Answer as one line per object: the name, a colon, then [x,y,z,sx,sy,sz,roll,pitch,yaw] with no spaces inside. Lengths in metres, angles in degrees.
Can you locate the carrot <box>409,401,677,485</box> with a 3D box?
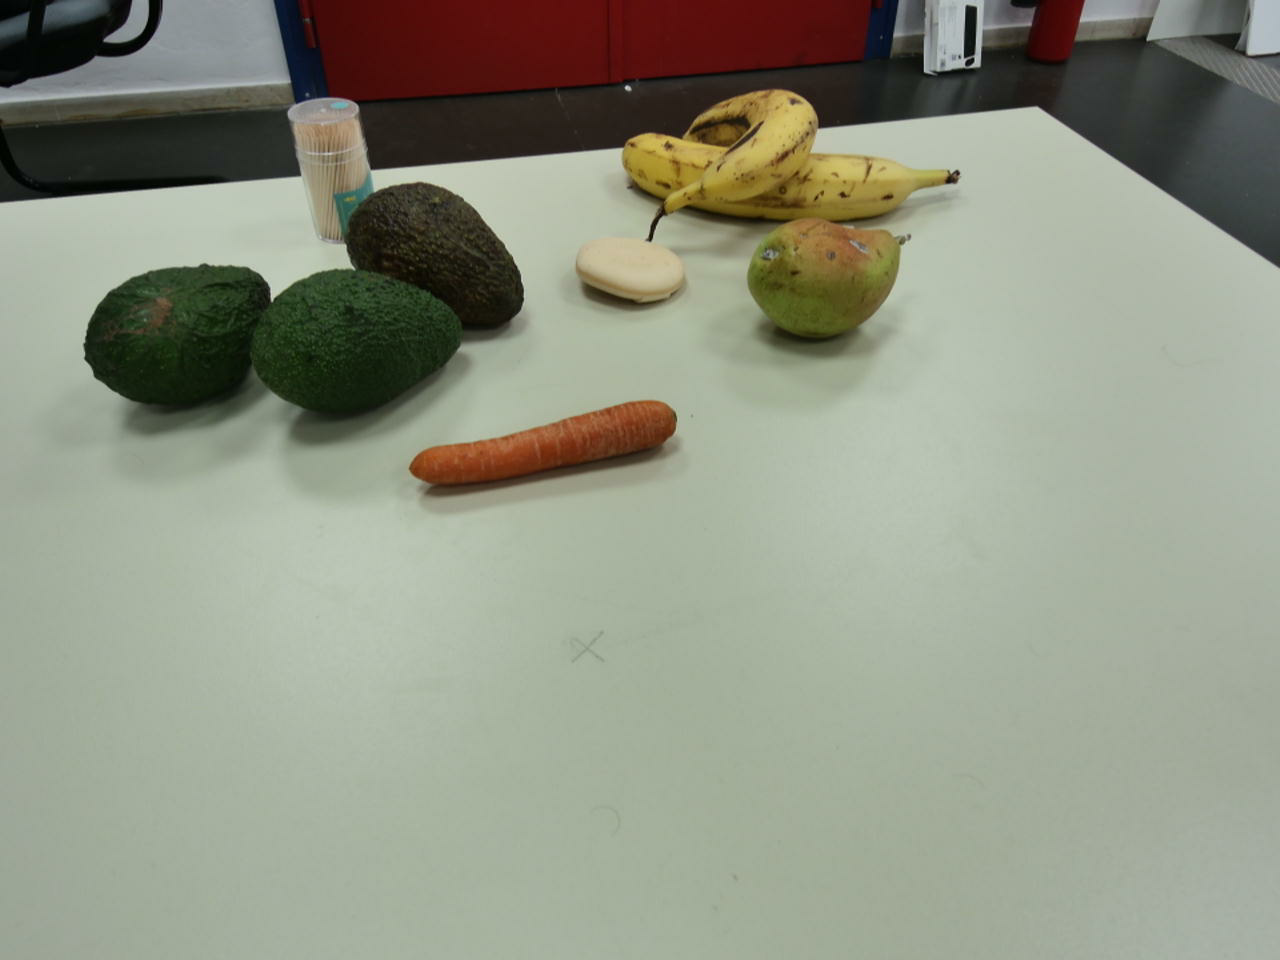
carrot: [-0.041,-0.016,0.449,0.122,0.023,0.024,-10,39,-13]
